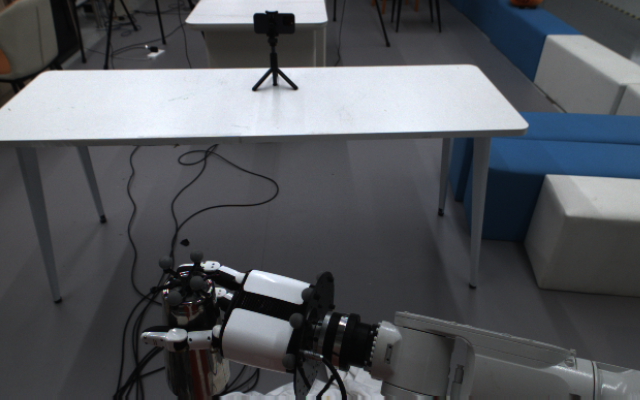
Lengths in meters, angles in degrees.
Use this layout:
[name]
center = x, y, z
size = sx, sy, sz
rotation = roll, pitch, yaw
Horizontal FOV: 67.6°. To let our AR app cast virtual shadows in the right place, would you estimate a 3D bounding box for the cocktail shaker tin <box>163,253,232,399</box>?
[cocktail shaker tin]
center = -0.171, 0.180, 0.665
size = 0.093, 0.170, 0.093
rotation = 3, 33, -2
